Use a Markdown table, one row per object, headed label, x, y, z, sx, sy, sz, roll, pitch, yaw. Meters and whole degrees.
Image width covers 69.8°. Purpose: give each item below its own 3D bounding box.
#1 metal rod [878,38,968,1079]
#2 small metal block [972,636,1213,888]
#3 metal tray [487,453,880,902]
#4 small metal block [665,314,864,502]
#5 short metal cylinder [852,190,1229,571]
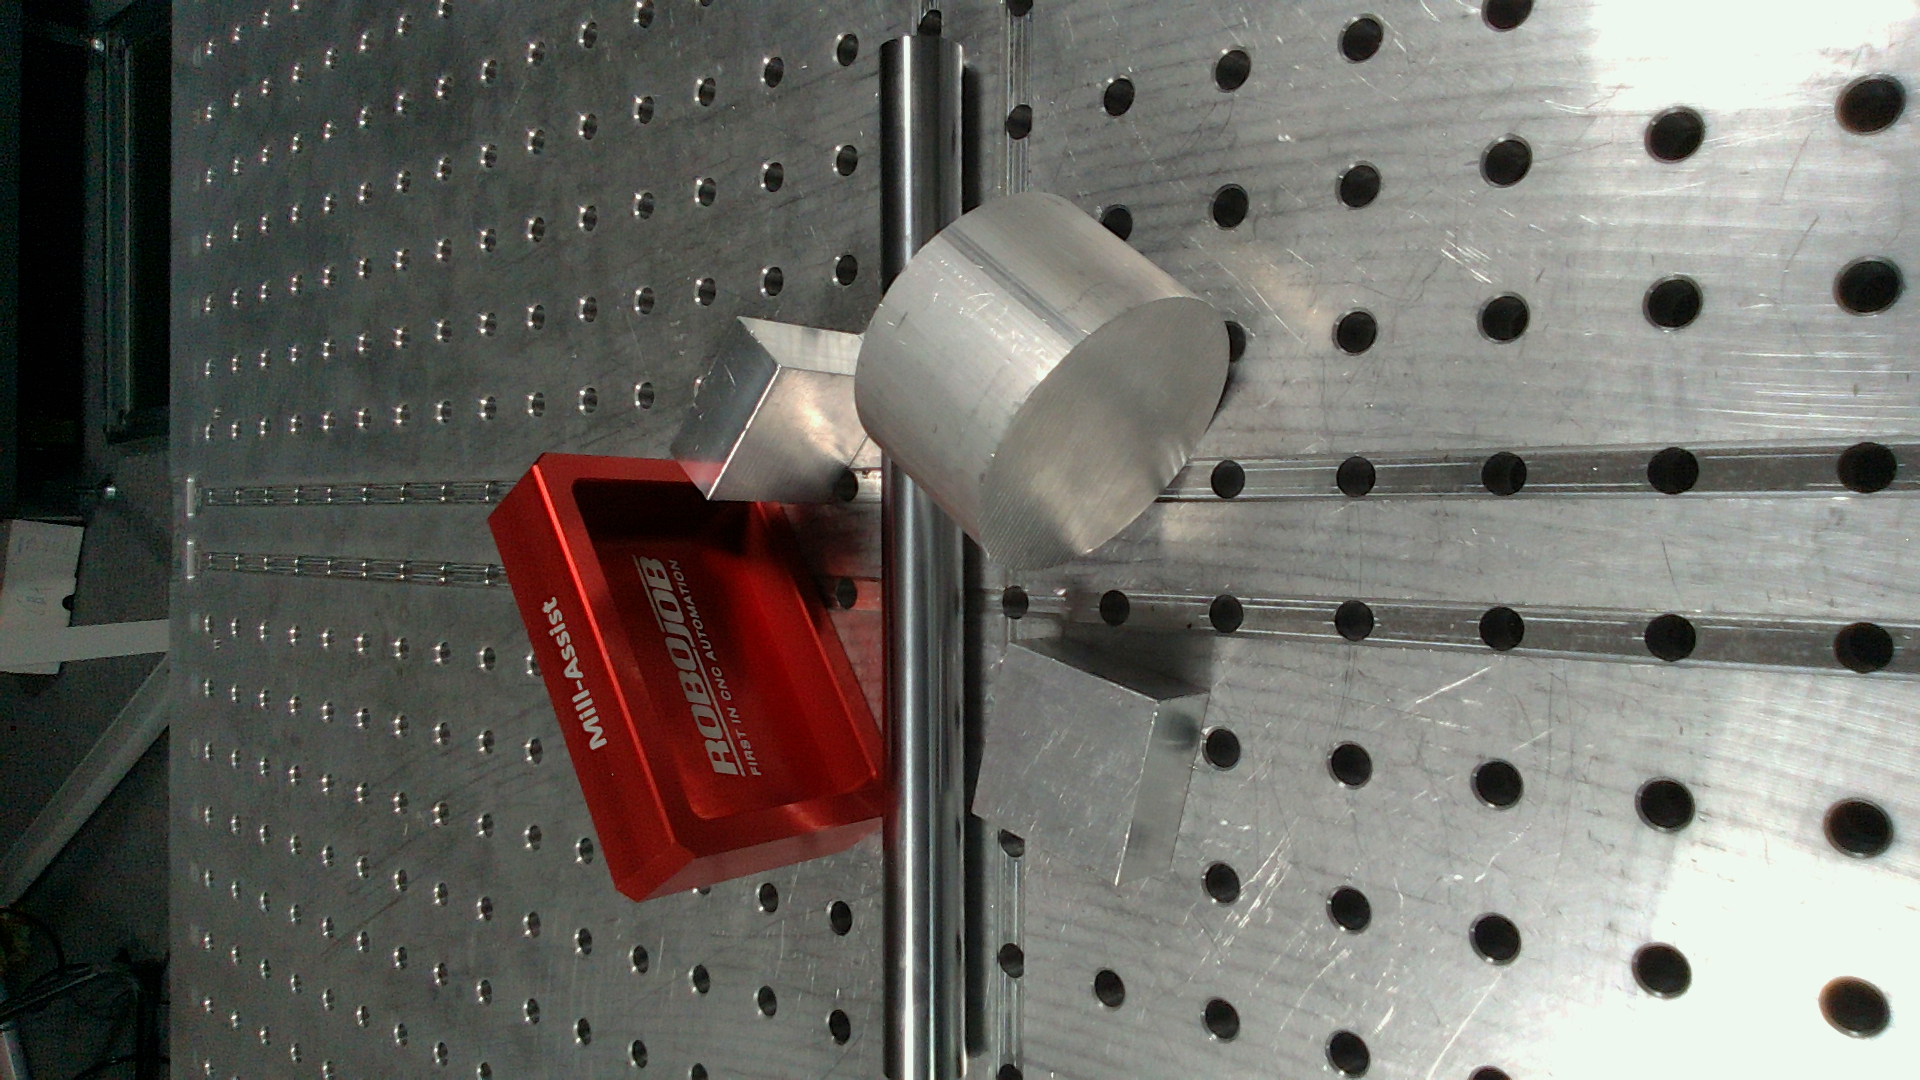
| label | x | y | z | sx | sy | sz | roll | pitch | yaw |
| --- | --- | --- | --- | --- | --- | --- | --- | --- | --- |
| metal rod | -0.011 | 0.006 | 0.406 | 0.025 | 0.025 | 0.300 | 0 | 90 | 40 |
| small metal block | 0.035 | 0.058 | 0.370 | 0.050 | 0.025 | 0.050 | 19 | 102 | 38 |
| metal tray | -0.080 | 0.037 | 0.422 | 0.030 | 0.090 | 0.130 | -40 | 66 | 33 |
| small metal block | -0.055 | -0.039 | 0.427 | 0.025 | 0.050 | 0.050 | 49 | 119 | 29 |
| short metal cylinder | 0.020 | -0.039 | 0.344 | 0.050 | 0.080 | 0.080 | 45 | 117 | 31 |
